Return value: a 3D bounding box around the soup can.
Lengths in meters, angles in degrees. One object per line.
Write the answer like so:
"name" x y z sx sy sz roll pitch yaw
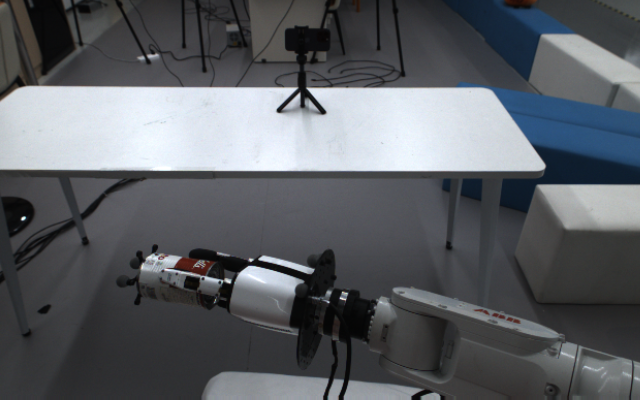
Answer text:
"soup can" -0.193 0.115 0.682 0.101 0.067 0.067 6 35 11
